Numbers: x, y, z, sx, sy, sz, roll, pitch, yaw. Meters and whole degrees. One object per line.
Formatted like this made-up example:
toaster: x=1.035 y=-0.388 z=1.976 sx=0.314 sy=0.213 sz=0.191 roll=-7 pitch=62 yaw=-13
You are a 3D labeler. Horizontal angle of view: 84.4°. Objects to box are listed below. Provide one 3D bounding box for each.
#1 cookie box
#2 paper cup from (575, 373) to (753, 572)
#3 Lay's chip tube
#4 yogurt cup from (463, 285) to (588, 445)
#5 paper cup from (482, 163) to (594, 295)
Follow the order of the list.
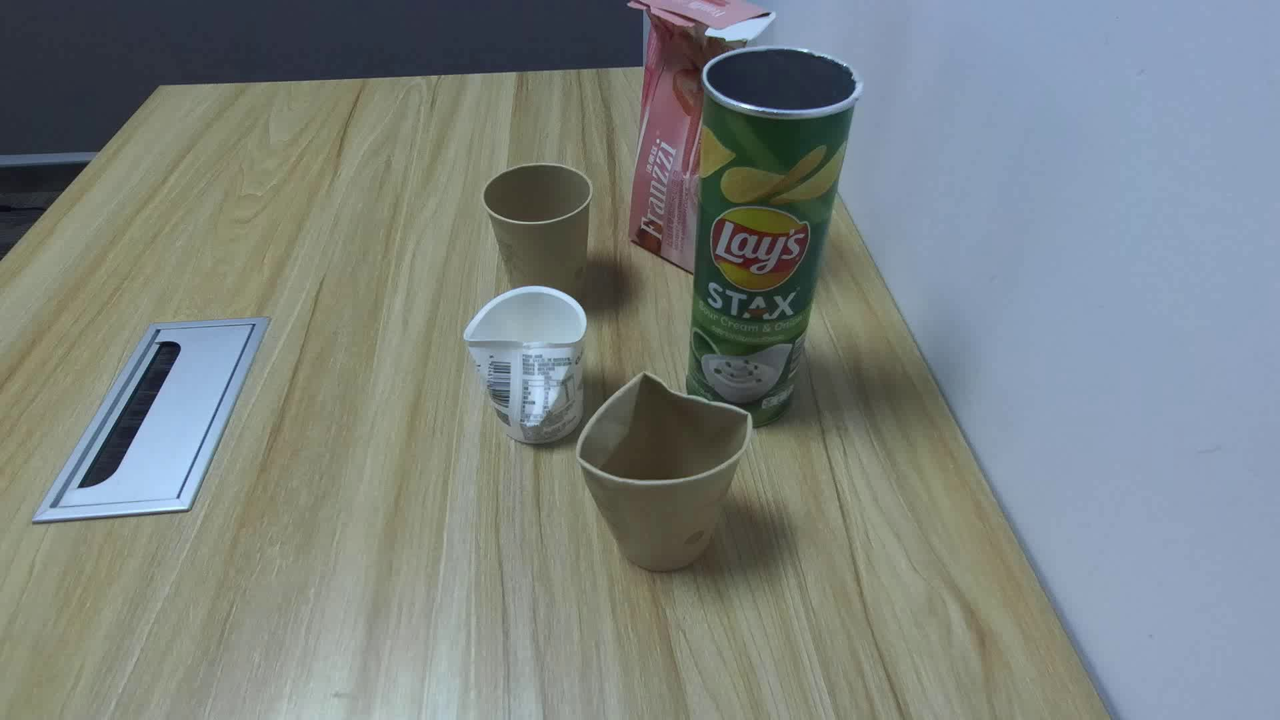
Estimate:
cookie box: x=0.038 y=-0.153 z=0.493 sx=0.055 sy=0.184 sz=0.118 roll=-28 pitch=49 yaw=-28
paper cup: x=0.012 y=0.062 z=0.348 sx=0.071 sy=0.084 sz=0.066 roll=20 pitch=48 yaw=20
Lay's chip tube: x=0.063 y=-0.053 z=0.377 sx=0.071 sy=0.203 sz=0.071 roll=-1 pitch=45 yaw=1
yogurt cup: x=-0.061 y=0.005 z=0.417 sx=0.067 sy=0.070 sz=0.067 roll=-2 pitch=43 yaw=3
paper cup: x=-0.066 y=-0.078 z=0.489 sx=0.075 sy=0.082 sz=0.075 roll=-1 pitch=37 yaw=1
